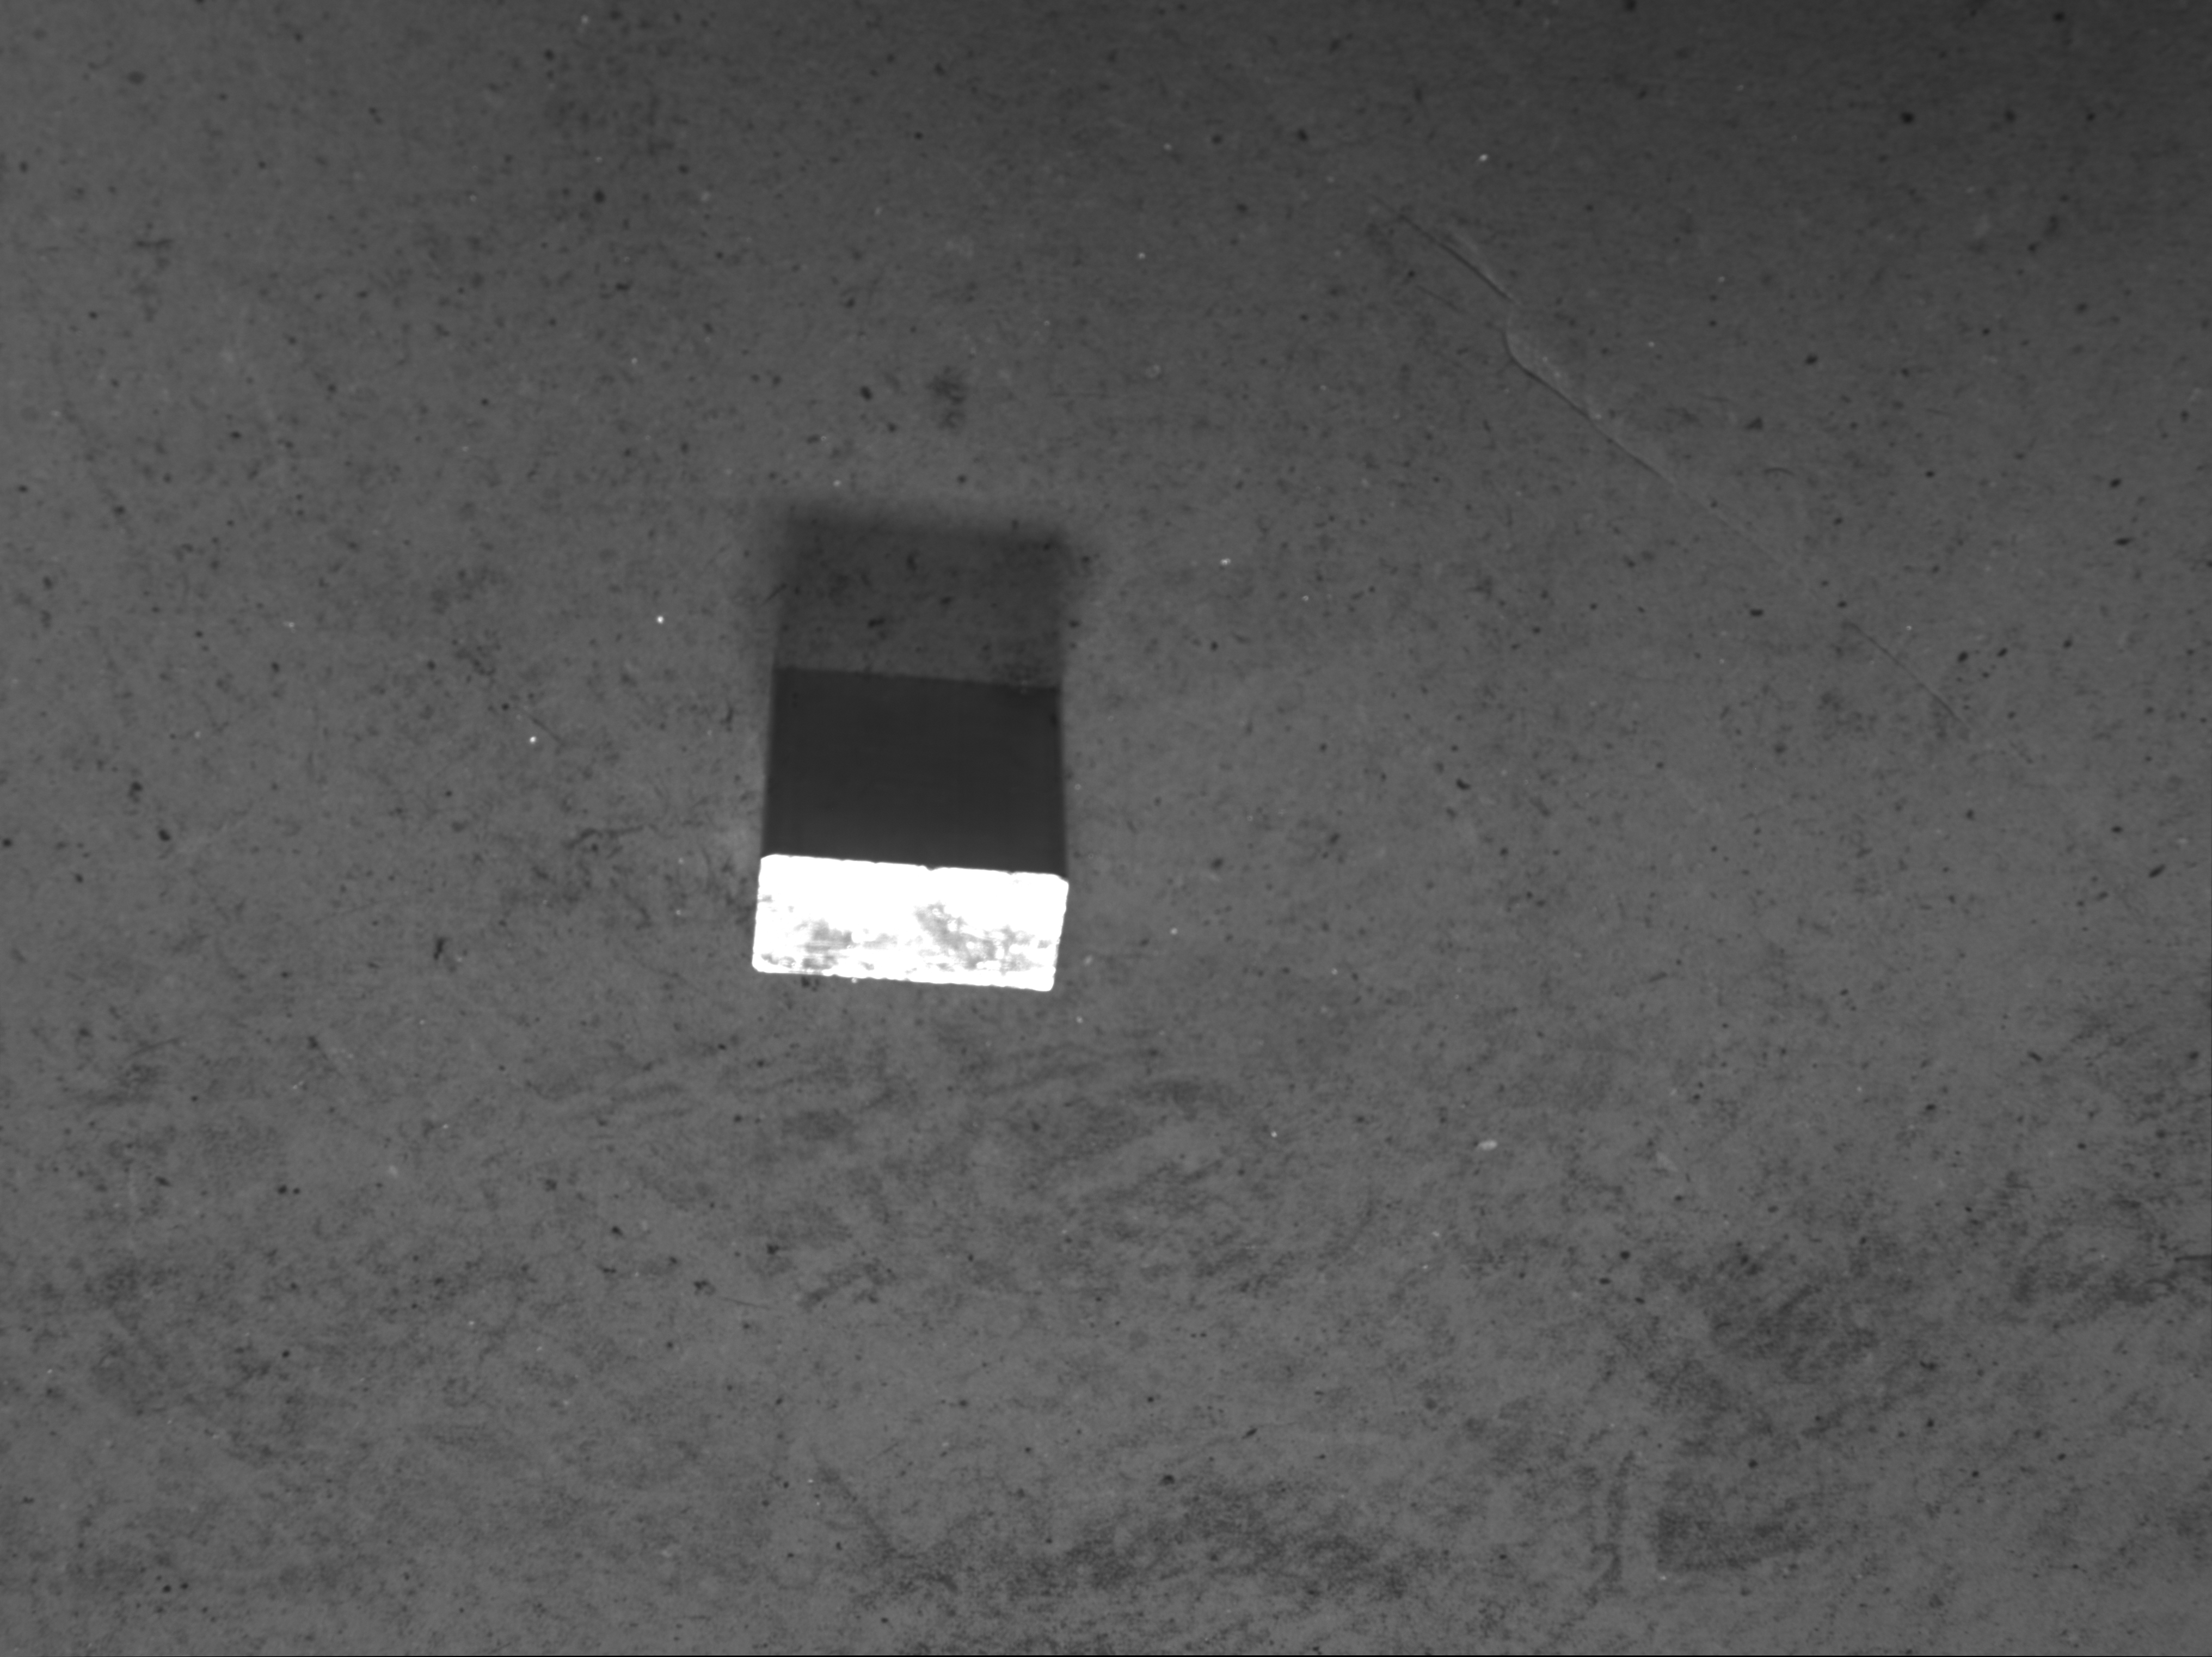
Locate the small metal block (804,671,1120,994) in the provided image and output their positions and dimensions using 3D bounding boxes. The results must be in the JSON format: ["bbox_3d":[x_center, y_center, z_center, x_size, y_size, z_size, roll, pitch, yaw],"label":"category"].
[{"bbox_3d":[-0.024,0.000,0.621,0.050,0.050,0.025,4,130,-5],"label":"small metal block"}]
